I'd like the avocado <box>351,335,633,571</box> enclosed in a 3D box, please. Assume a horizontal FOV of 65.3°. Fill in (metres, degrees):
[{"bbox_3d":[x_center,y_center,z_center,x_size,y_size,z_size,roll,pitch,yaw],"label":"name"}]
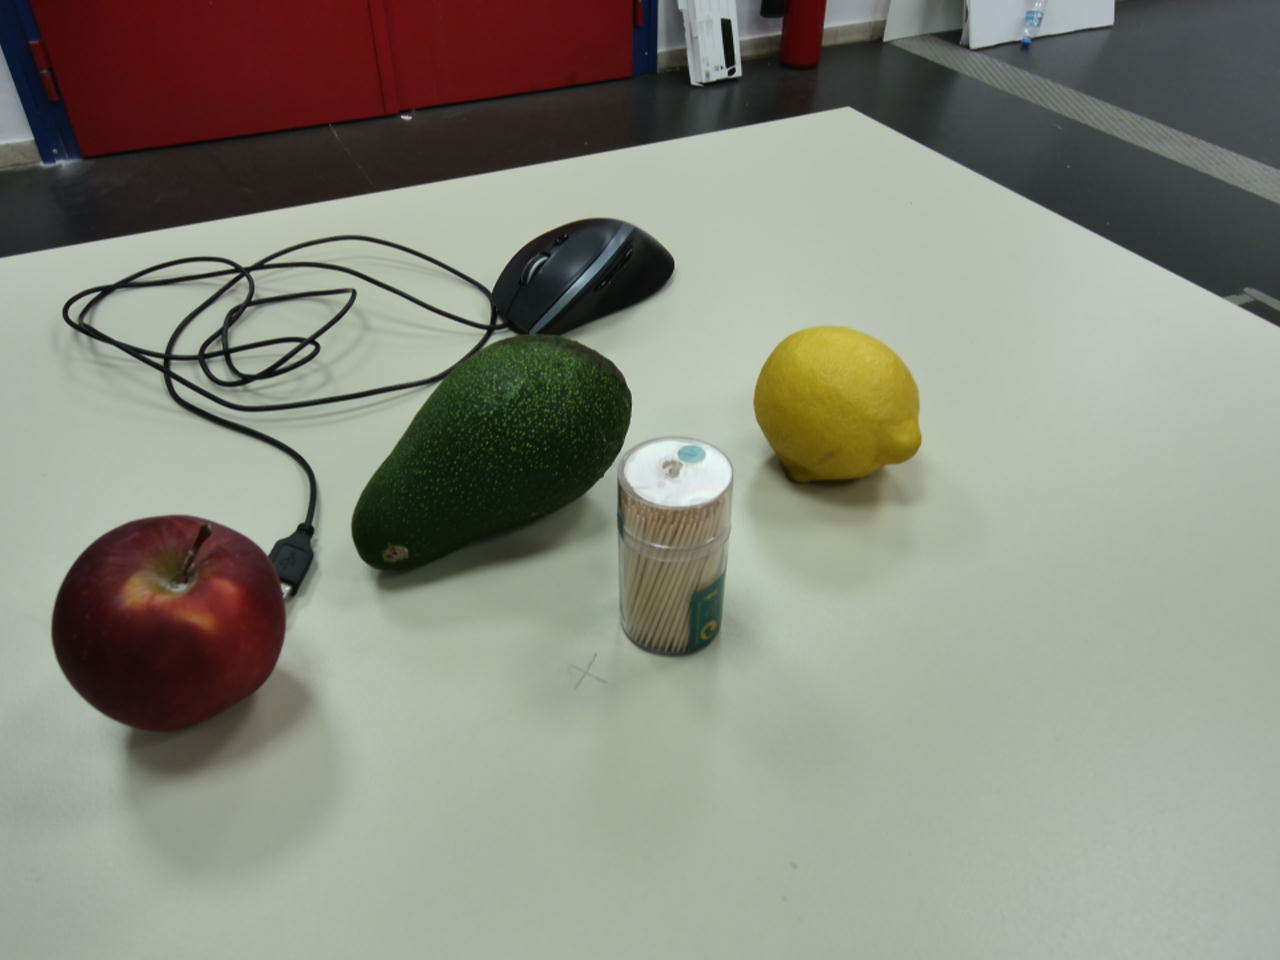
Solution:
[{"bbox_3d":[-0.062,-0.018,0.413,0.123,0.076,0.074,-13,40,-17],"label":"avocado"}]
